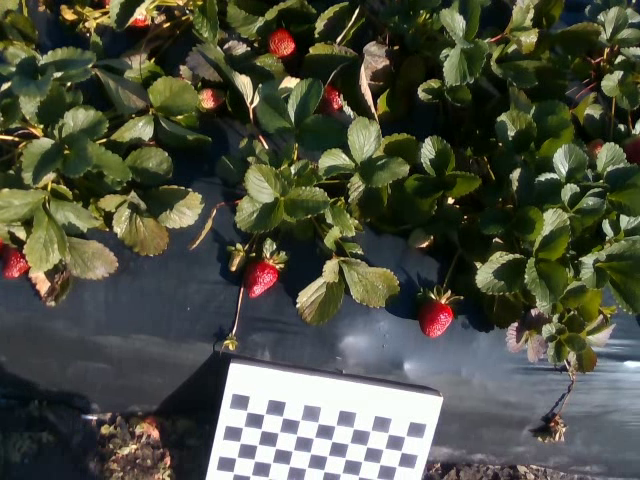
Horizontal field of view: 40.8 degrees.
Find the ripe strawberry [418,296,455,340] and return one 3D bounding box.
[{"bbox_3d":[0.130,0.097,0.973,0.042,0.050,0.043,44,-36,-19],"label":"ripe strawberry"}]

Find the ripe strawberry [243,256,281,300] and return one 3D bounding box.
[{"bbox_3d":[-0.070,0.047,0.953,0.041,0.053,0.043,20,-26,-13],"label":"ripe strawberry"}]
